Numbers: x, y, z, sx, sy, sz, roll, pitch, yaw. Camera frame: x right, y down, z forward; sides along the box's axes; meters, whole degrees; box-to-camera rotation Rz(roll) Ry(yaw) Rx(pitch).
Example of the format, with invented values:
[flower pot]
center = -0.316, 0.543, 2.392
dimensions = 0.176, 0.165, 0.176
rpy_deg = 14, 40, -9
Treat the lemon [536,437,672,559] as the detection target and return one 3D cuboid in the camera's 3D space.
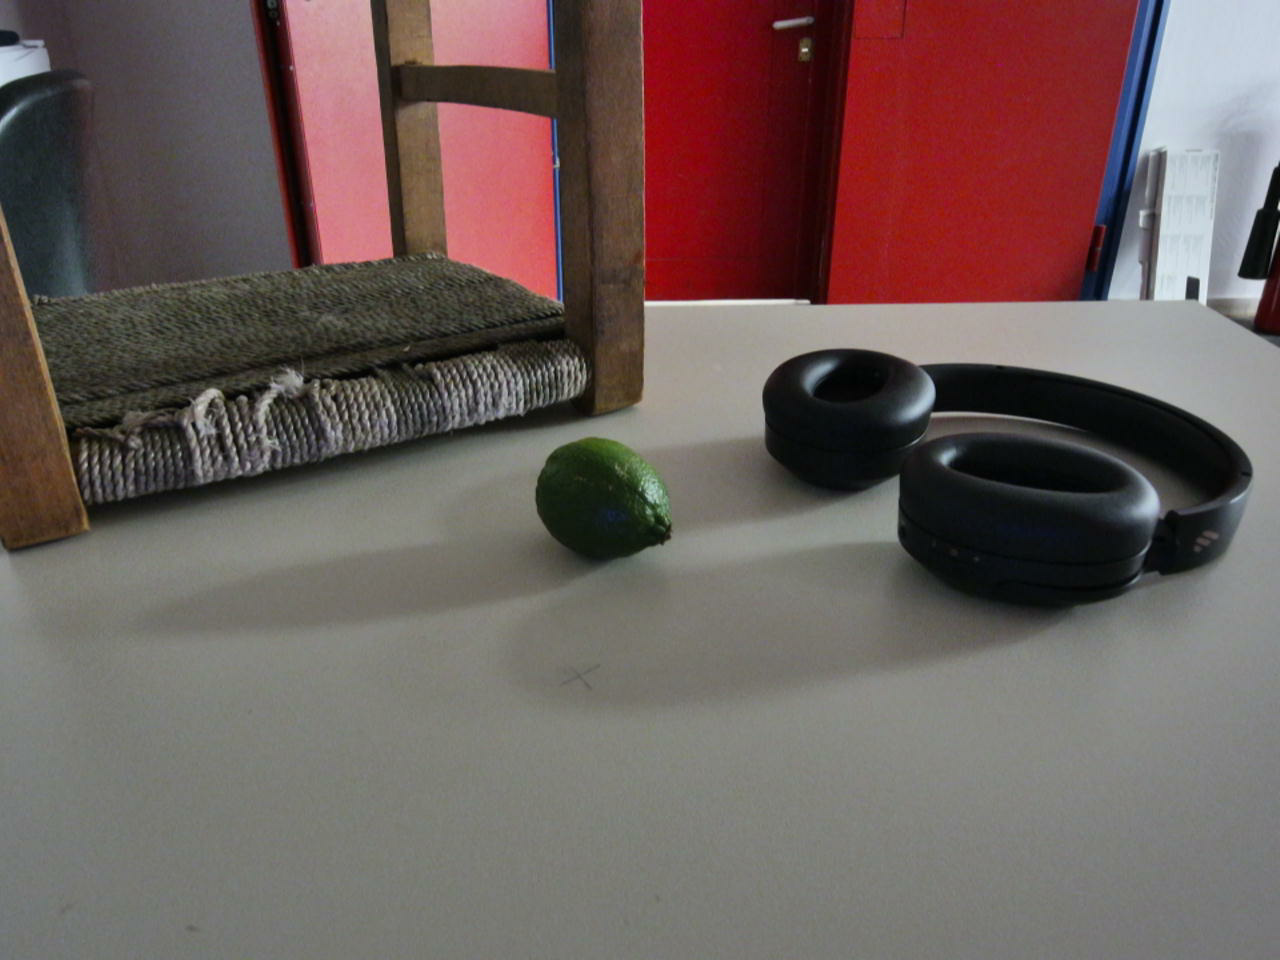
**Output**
[lemon]
center = -0.016, 0.007, 0.431
dimensions = 0.057, 0.051, 0.054
rpy_deg = -2, 24, -4
